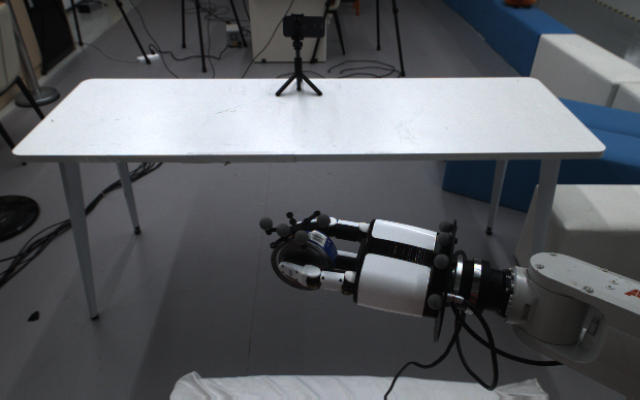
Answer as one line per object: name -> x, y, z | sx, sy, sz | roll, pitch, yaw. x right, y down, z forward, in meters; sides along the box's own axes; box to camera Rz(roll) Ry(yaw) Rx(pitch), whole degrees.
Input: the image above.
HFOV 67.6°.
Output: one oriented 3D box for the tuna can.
tuna can -> -0.017, 0.083, 0.647 | 0.085, 0.085, 0.034 | 10, 33, 11
